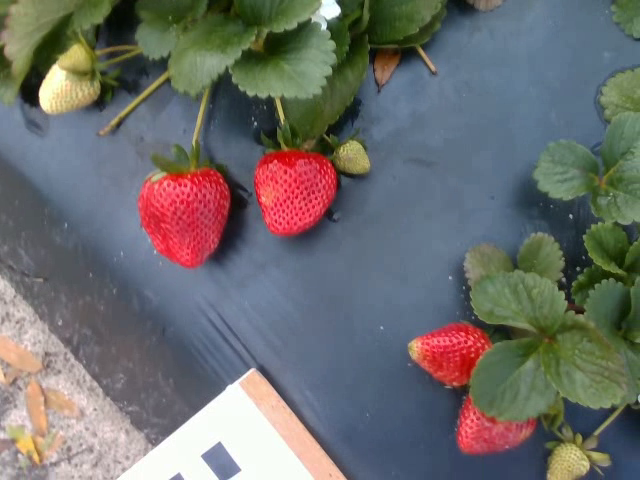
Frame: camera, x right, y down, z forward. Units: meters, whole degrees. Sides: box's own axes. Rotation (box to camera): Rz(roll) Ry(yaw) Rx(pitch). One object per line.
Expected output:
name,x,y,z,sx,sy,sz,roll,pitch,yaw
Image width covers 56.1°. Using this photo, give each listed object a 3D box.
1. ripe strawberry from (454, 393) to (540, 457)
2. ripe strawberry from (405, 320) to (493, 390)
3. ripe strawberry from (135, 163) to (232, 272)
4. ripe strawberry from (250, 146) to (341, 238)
ripe strawberry,0.087,0.100,0.315,0.049,0.044,0.041,-40,-9,-28
ripe strawberry,0.067,0.063,0.327,0.053,0.047,0.039,13,35,-10
ripe strawberry,-0.081,-0.011,0.352,0.058,0.065,0.043,-8,-3,37
ripe strawberry,-0.018,-0.026,0.342,0.050,0.060,0.051,-14,-38,38
